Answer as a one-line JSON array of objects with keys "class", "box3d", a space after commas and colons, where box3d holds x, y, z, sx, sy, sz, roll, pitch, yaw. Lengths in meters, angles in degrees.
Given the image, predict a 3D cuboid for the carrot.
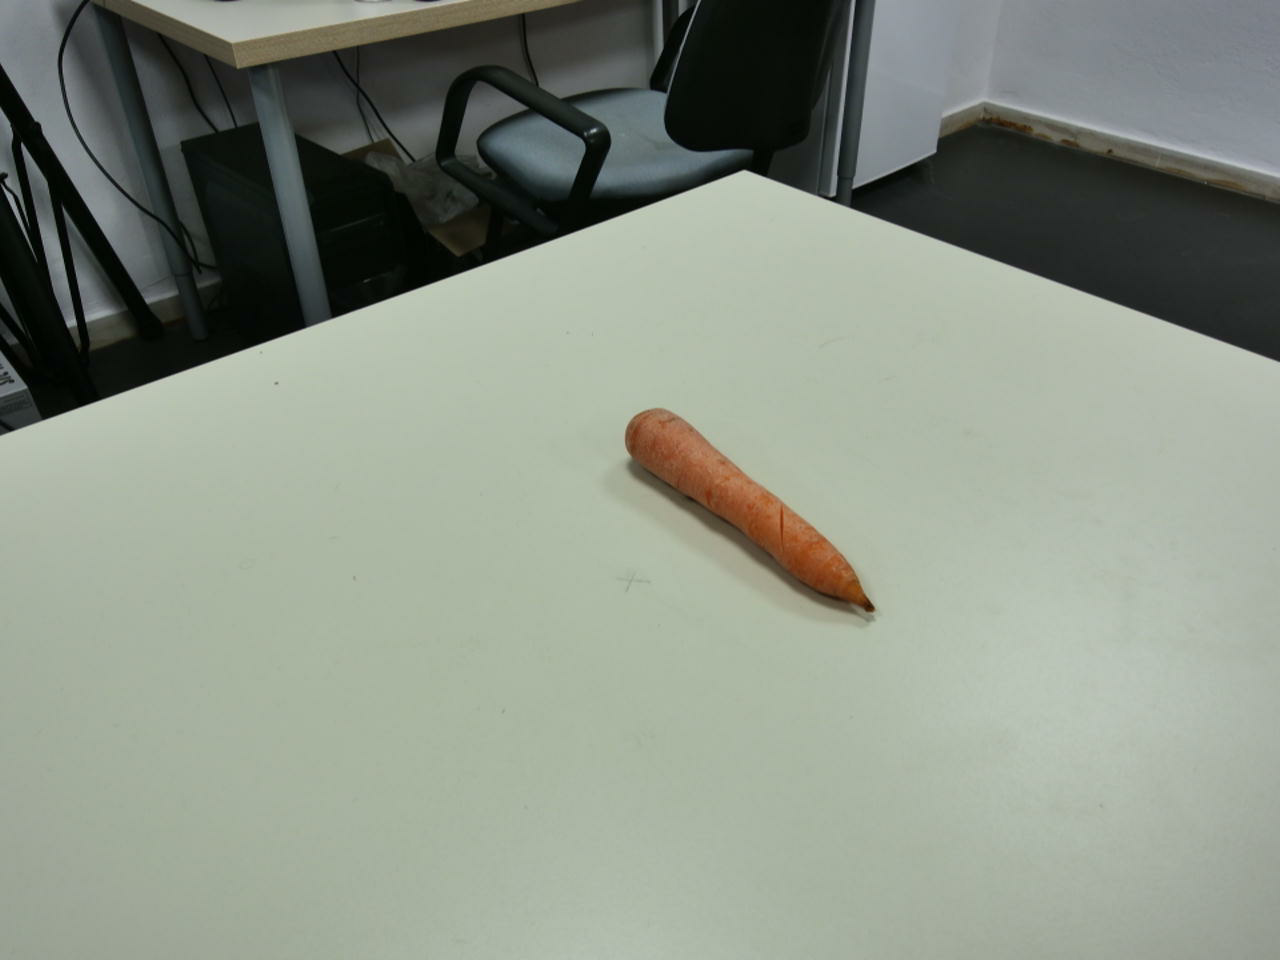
[{"class": "carrot", "box3d": [0.060, 0.011, 0.570, 0.039, 0.041, 0.196, -26, 44, -31]}]
